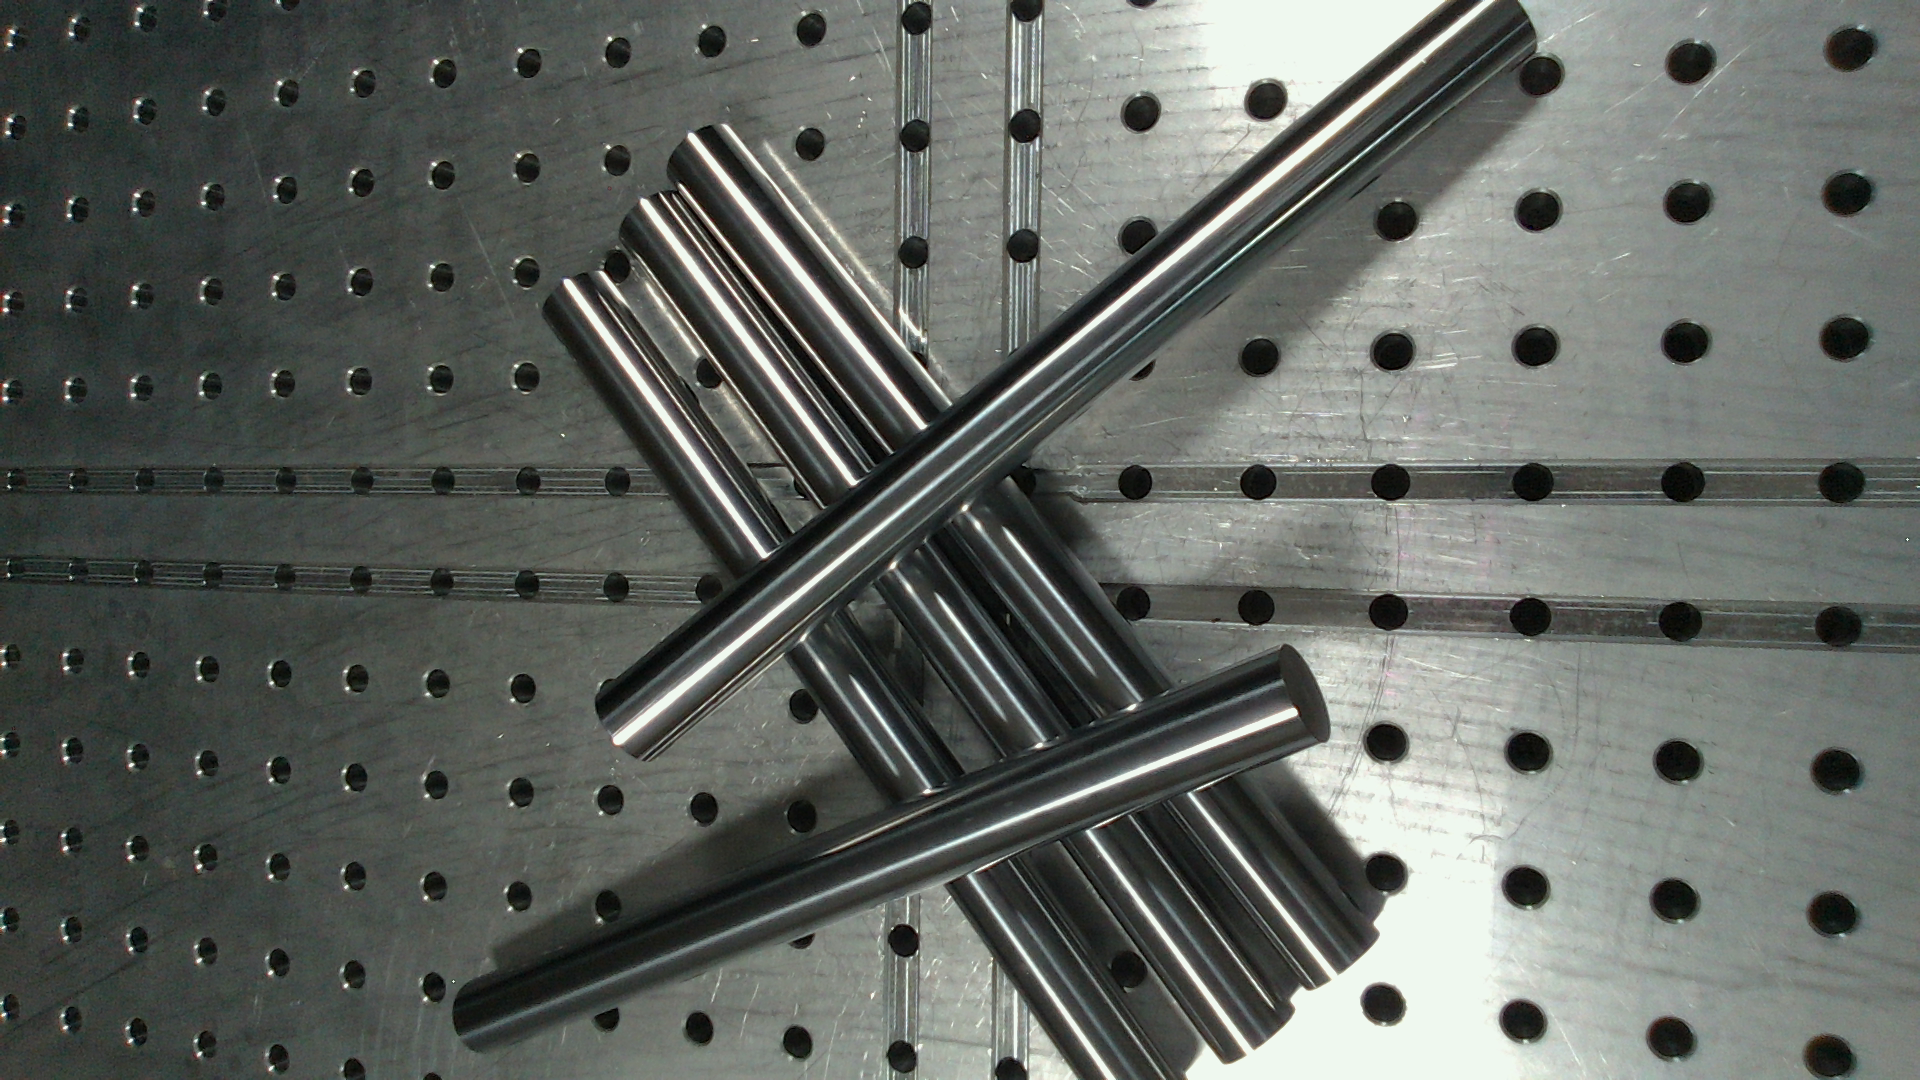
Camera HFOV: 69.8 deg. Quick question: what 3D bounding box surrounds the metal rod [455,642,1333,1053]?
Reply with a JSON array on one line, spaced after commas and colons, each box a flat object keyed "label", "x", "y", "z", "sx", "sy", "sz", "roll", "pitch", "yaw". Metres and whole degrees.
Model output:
[{"label": "metal rod", "x": -0.038, "y": 0.096, "z": 0.390, "sx": 0.299, "sy": 0.025, "sz": 0.025, "roll": -27, "pitch": 81, "yaw": 26}]

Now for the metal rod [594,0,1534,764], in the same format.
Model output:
[{"label": "metal rod", "x": 0.021, "y": -0.040, "z": 0.369, "sx": 0.300, "sy": 0.025, "sz": 0.025, "roll": -39, "pitch": 78, "yaw": 8}]

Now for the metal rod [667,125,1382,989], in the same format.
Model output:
[{"label": "metal rod", "x": 0.010, "y": -0.005, "z": 0.394, "sx": 0.025, "sy": 0.025, "sz": 0.300, "roll": -42, "pitch": 77, "yaw": 15}]

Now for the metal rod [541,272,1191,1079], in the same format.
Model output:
[{"label": "metal rod", "x": -0.035, "y": 0.039, "z": 0.411, "sx": 0.025, "sy": 0.025, "sz": 0.300, "roll": -41, "pitch": 77, "yaw": 16}]

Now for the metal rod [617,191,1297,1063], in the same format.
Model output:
[{"label": "metal rod", "x": -0.008, "y": 0.016, "z": 0.401, "sx": 0.025, "sy": 0.025, "sz": 0.300, "roll": -41, "pitch": 77, "yaw": 16}]
